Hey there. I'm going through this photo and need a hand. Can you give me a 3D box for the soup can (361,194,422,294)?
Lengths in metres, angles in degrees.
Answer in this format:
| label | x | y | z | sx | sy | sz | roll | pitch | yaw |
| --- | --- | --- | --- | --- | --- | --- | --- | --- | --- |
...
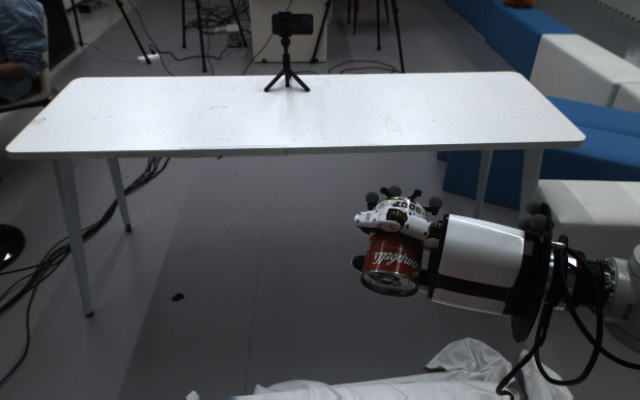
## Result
| label | x | y | z | sx | sy | sz | roll | pitch | yaw |
| --- | --- | --- | --- | --- | --- | --- | --- | --- | --- |
| soup can | 0.092 | 0.055 | 0.577 | 0.067 | 0.067 | 0.101 | 9 | 58 | 10 |
